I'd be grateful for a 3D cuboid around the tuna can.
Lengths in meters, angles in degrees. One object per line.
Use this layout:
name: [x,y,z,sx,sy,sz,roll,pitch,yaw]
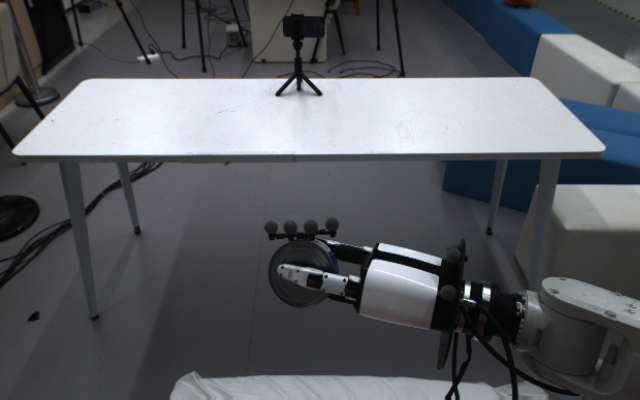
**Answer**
tuna can: [-0.017,0.096,0.612,0.085,0.085,0.034,10,3,11]
